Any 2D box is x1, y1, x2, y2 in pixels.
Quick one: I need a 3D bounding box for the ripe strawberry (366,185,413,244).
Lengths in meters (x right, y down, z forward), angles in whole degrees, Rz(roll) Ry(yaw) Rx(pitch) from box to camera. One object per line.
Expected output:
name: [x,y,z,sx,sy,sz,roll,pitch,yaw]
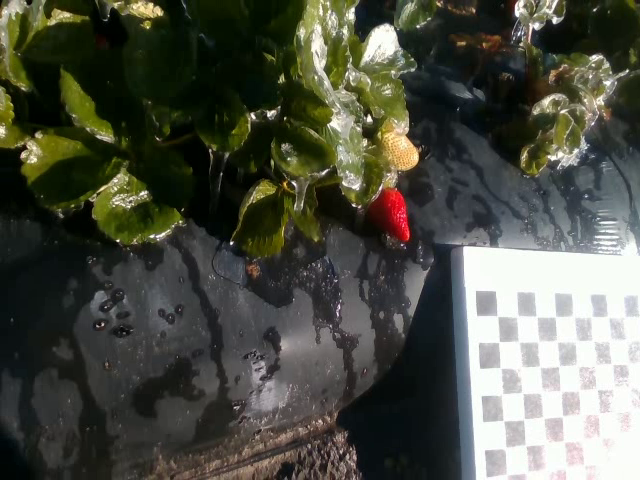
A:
ripe strawberry: [0.071,-0.023,0.532,0.041,0.052,0.040,-16,-9,-26]
